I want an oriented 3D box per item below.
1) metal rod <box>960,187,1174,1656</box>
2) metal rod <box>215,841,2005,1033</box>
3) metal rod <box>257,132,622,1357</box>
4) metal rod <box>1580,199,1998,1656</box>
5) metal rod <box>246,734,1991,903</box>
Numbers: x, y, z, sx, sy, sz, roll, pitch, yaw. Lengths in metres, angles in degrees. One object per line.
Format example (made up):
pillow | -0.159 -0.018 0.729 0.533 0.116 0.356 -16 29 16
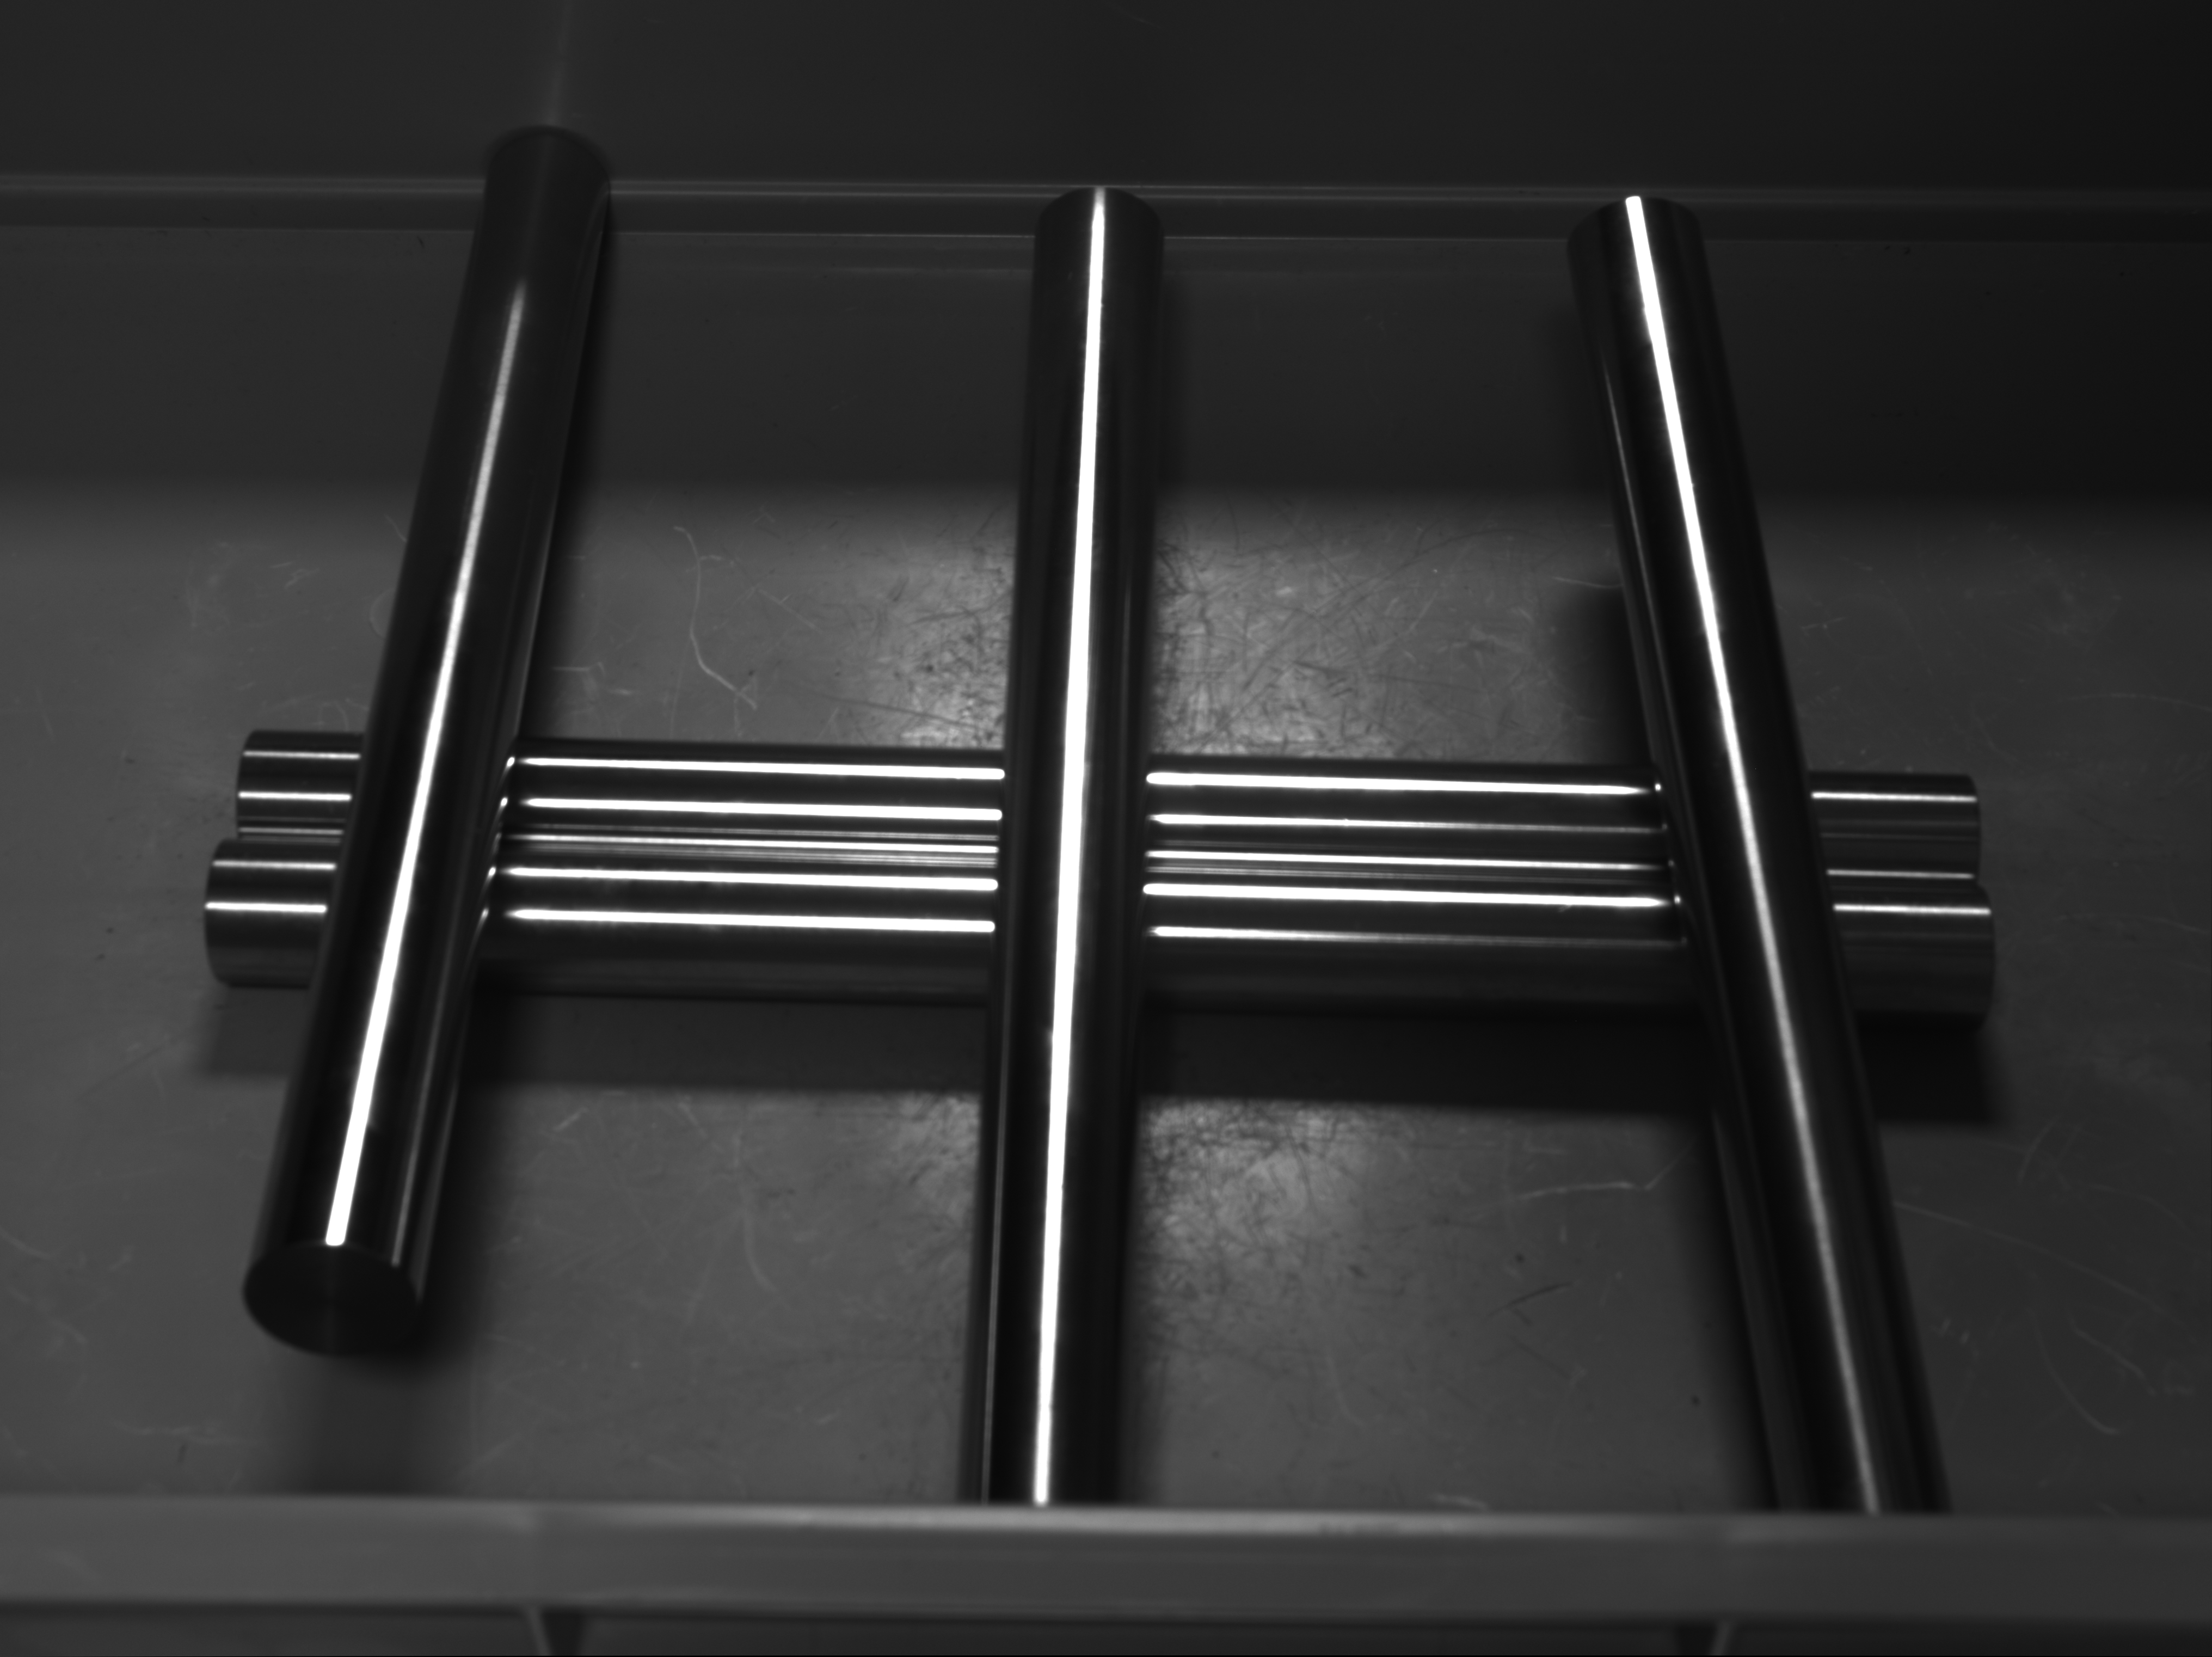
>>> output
metal rod | -0.004 0.001 0.608 0.025 0.025 0.300 1 50 1
metal rod | 0.000 0.018 0.626 0.300 0.025 0.025 1 50 1
metal rod | -0.110 -0.032 0.636 0.025 0.025 0.300 0 42 0
metal rod | 0.109 0.020 0.595 0.025 0.025 0.300 -3 58 -2
metal rod | 0.002 0.000 0.642 0.300 0.025 0.025 1 50 1
